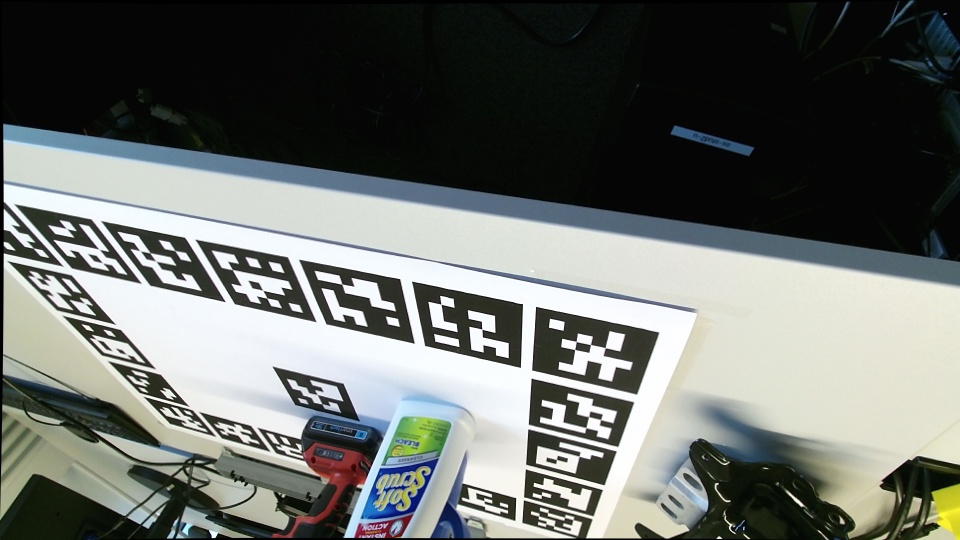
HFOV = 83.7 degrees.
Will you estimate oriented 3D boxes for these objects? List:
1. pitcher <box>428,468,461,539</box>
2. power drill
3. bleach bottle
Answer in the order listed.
[{"bbox_3d":[-0.099,0.339,0.646,0.189,0.241,0.133,-12,126,31],"label":"pitcher"},{"bbox_3d":[-0.258,0.318,0.703,0.185,0.186,0.057,10,133,21],"label":"power drill"},{"bbox_3d":[-0.098,0.282,0.559,0.103,0.250,0.068,4,134,18],"label":"bleach bottle"}]
